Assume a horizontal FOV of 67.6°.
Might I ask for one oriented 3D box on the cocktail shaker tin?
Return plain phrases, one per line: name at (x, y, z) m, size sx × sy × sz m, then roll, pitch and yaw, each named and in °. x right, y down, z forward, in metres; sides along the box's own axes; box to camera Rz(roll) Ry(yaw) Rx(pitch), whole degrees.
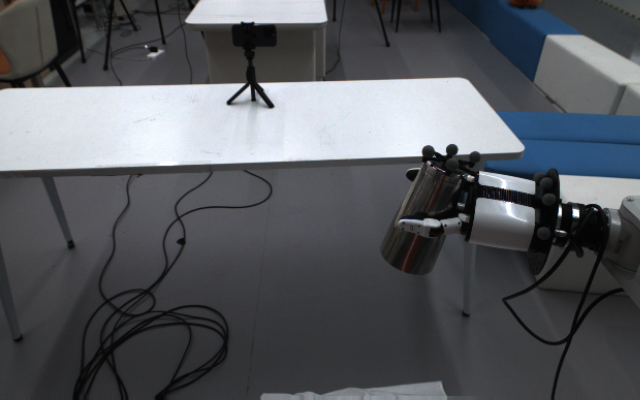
cocktail shaker tin at (0.165, 0.018, 0.746) m, size 0.093 × 0.170 × 0.093 m, roll 12°, pitch 29°, yaw -7°
